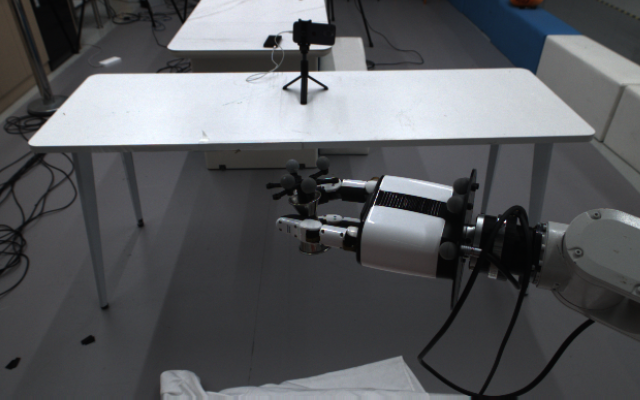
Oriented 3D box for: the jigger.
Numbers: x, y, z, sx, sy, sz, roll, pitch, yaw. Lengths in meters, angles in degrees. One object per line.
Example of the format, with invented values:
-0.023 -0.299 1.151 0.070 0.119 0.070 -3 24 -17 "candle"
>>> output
-0.010 0.025 0.592 0.043 0.071 0.043 -10 23 5 "jigger"
